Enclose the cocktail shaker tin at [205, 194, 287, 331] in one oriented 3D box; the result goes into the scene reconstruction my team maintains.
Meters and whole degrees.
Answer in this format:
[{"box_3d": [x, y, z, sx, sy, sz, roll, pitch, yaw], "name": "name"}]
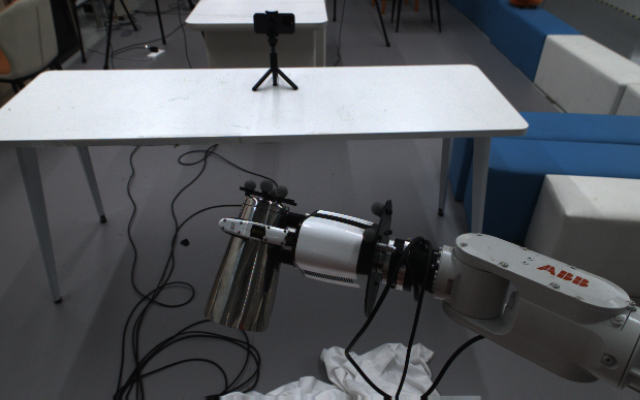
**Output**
[{"box_3d": [-0.093, 0.083, 0.675, 0.093, 0.170, 0.093, 15, -5, 1], "name": "cocktail shaker tin"}]
